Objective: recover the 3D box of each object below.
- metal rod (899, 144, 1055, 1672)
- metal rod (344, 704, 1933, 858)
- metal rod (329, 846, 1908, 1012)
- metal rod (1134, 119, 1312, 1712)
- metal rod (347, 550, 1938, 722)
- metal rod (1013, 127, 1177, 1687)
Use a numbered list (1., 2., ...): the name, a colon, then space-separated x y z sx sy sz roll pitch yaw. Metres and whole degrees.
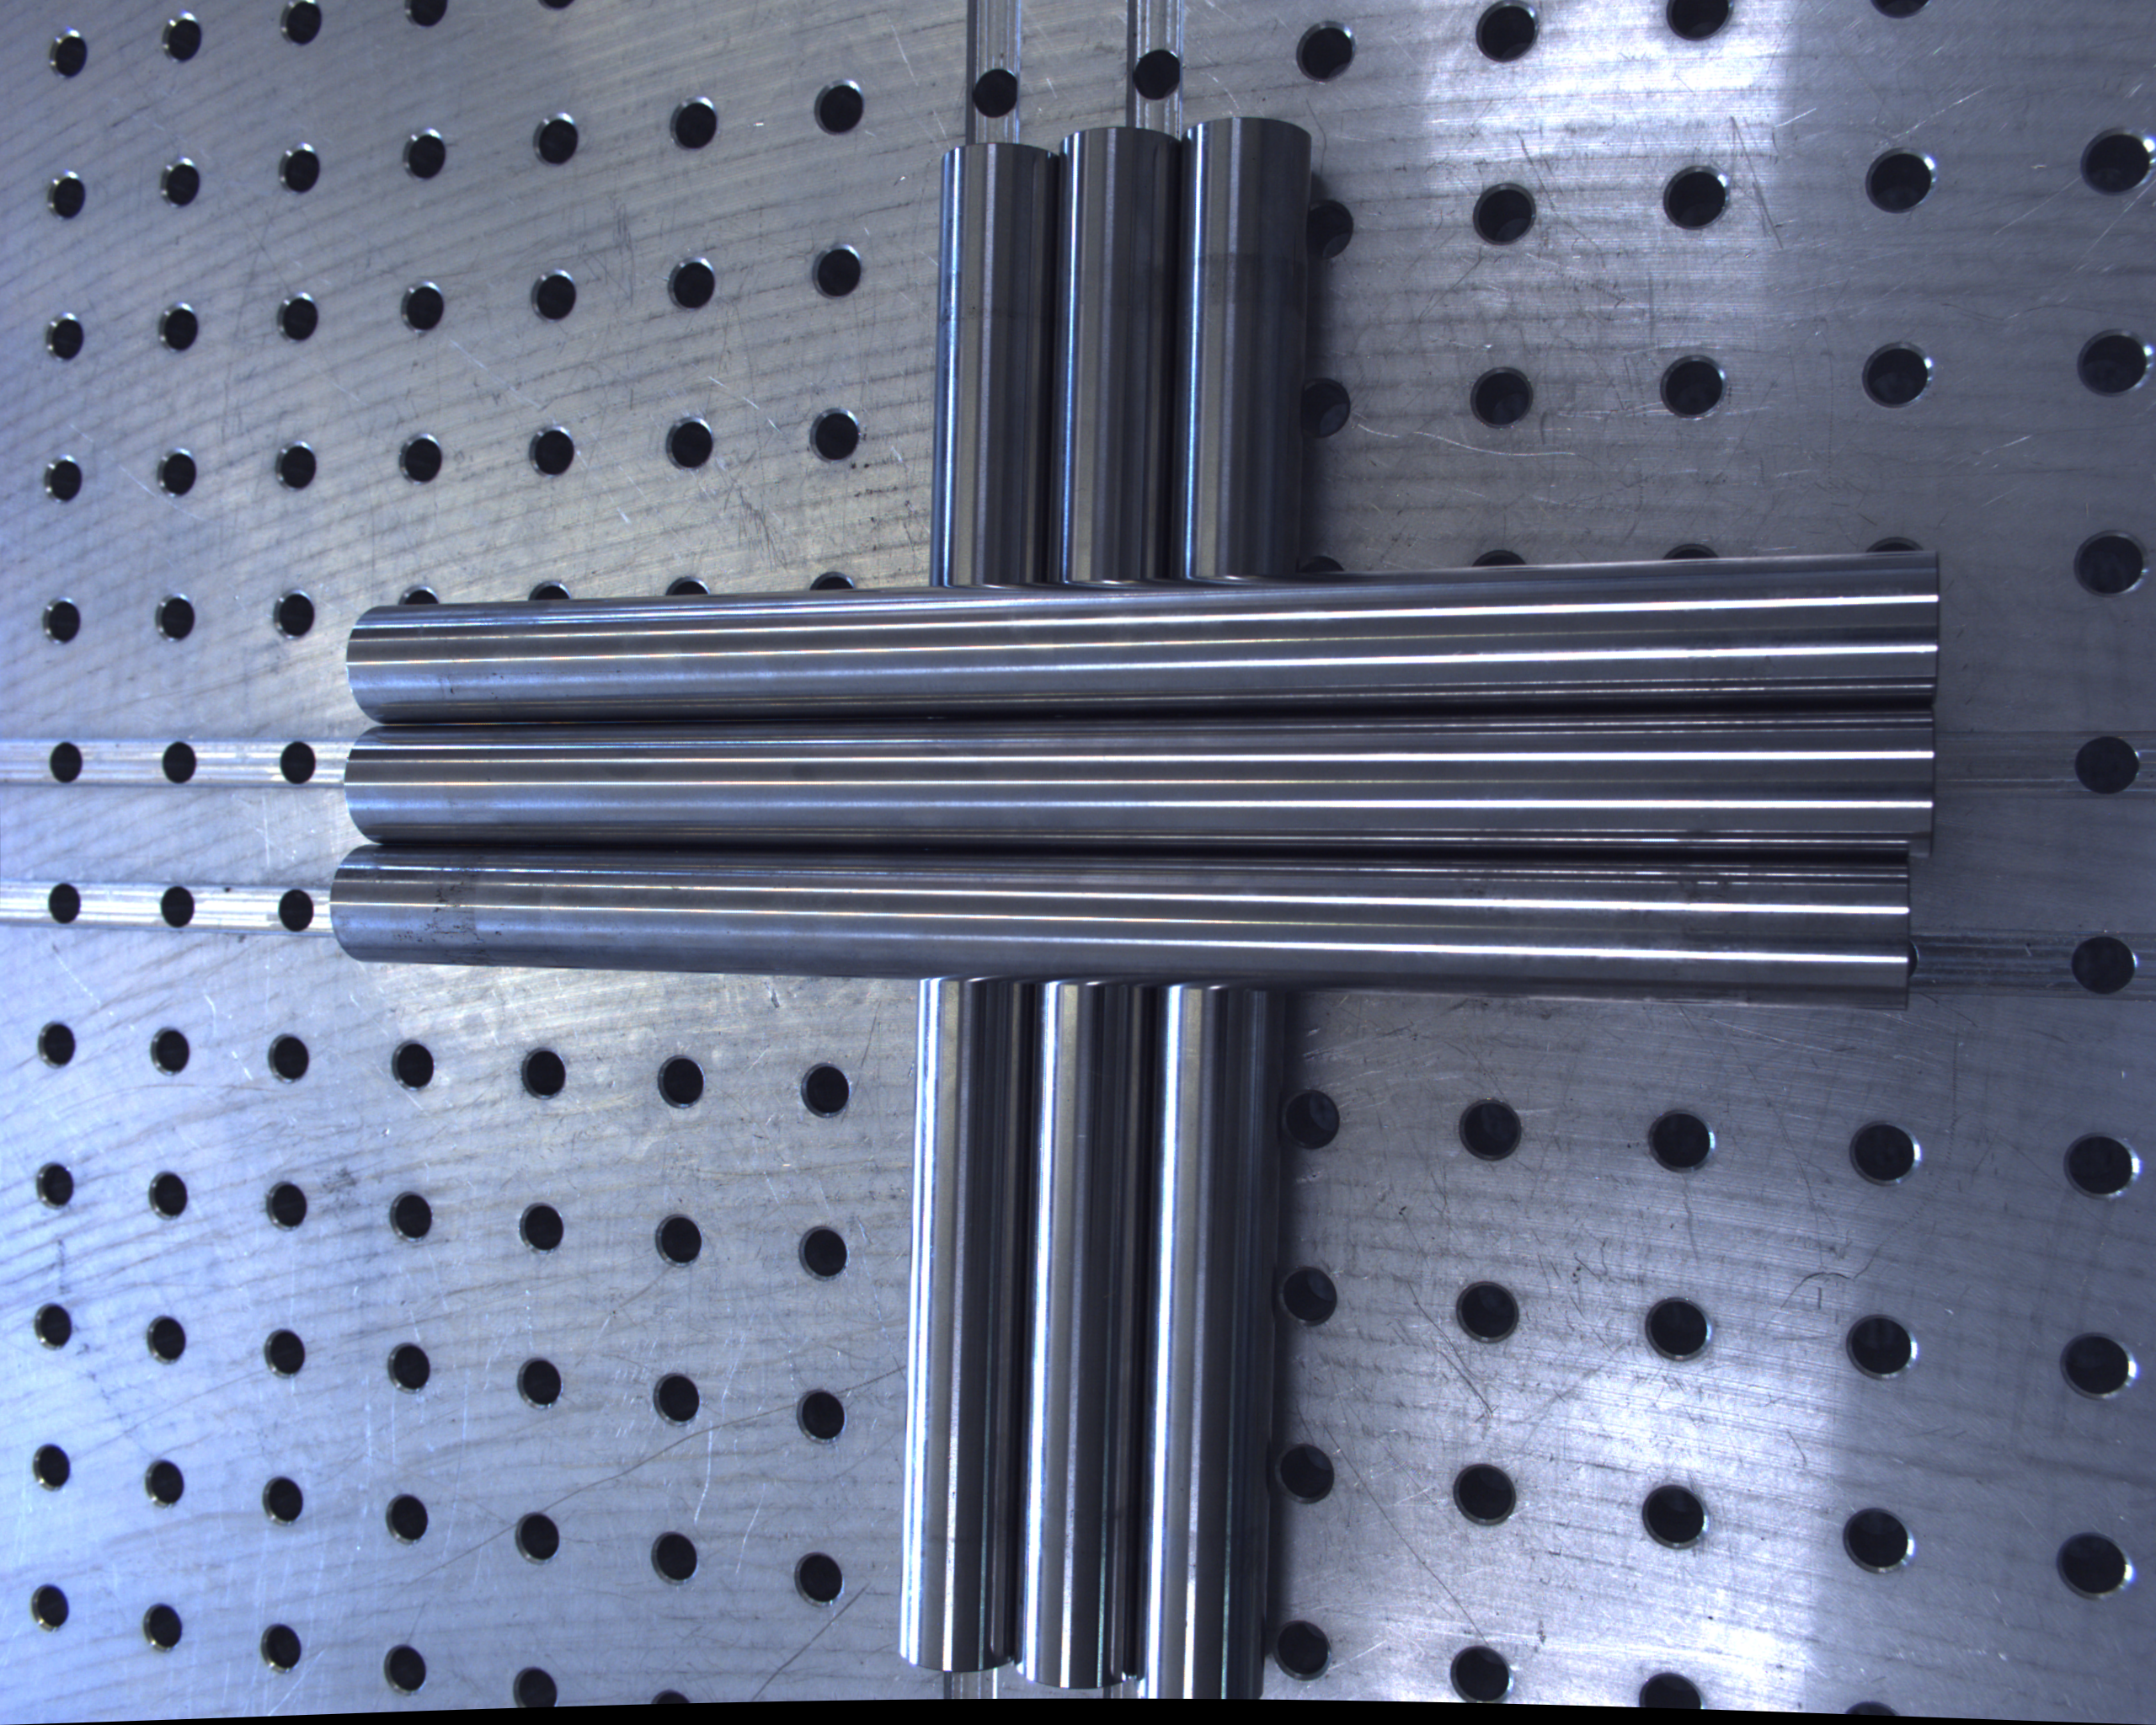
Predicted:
1. metal rod: -0.019 0.009 0.420 0.025 0.025 0.298 2 91 20
2. metal rod: -0.004 -0.015 0.388 0.301 0.025 0.025 1 90 20
3. metal rod: -0.007 0.010 0.389 0.301 0.025 0.025 1 90 20
4. metal rod: 0.028 0.010 0.403 0.025 0.025 0.298 2 91 20
5. metal rod: -0.003 -0.040 0.387 0.301 0.025 0.025 1 90 20
6. metal rod: 0.004 0.009 0.412 0.025 0.025 0.298 2 91 20
